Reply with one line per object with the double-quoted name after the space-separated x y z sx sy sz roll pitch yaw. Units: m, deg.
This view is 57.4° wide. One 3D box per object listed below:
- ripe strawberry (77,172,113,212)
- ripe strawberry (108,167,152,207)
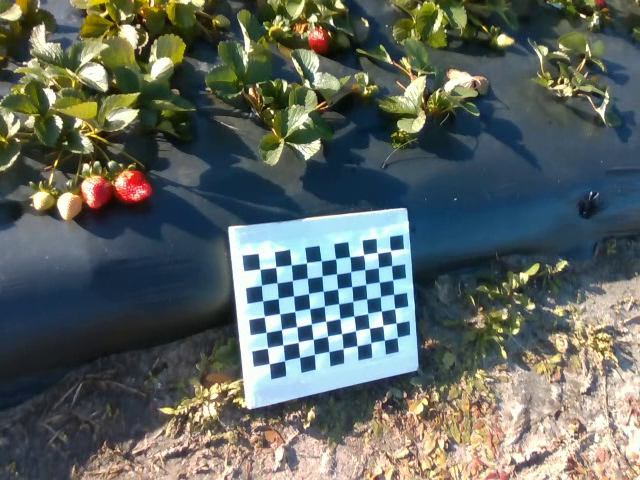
-0.312 -0.066 0.794 0.051 0.061 0.043 18 -49 -23 "ripe strawberry"
-0.260 -0.075 0.807 0.067 0.056 0.051 25 -11 34 "ripe strawberry"
